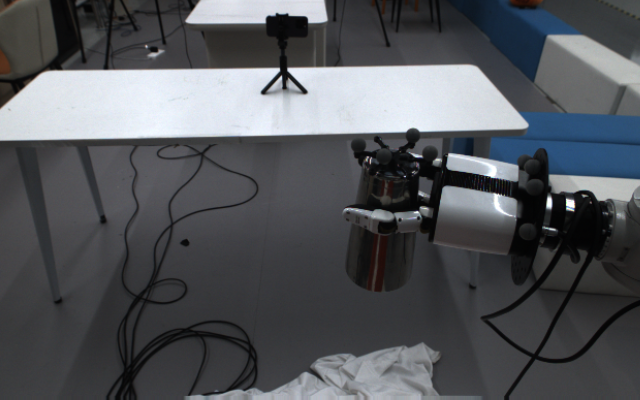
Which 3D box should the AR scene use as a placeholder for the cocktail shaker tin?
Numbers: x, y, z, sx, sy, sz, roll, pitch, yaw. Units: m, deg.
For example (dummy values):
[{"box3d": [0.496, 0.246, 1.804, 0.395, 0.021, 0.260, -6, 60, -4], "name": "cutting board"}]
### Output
[{"box3d": [0.086, 0.020, 0.611, 0.093, 0.170, 0.093, 1, 39, 0], "name": "cocktail shaker tin"}]
